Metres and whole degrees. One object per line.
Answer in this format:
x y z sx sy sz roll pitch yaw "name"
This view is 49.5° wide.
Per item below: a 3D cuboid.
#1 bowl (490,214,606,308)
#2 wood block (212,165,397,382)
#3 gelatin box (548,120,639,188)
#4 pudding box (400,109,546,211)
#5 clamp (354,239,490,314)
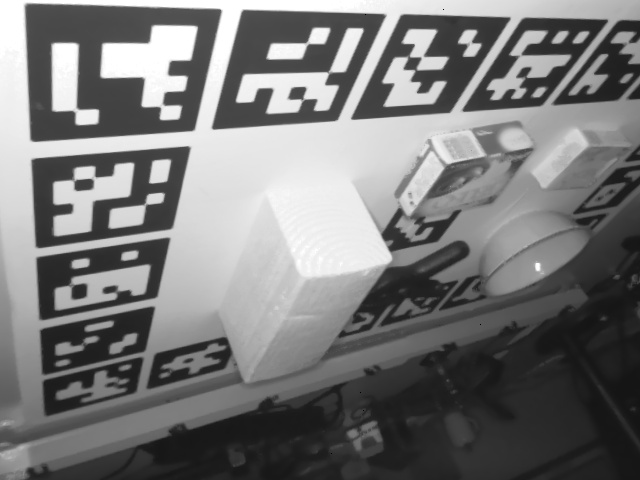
0.275 0.018 0.876 0.163 0.055 0.160 -18 145 -12 "bowl"
-0.024 0.035 0.638 0.091 0.091 0.203 -4 142 -29 "wood block"
0.302 -0.090 0.746 0.091 0.030 0.072 -1 139 -34 "gelatin box"
0.141 -0.075 0.647 0.115 0.038 0.088 -10 141 -29 "pudding box"
0.115 0.053 0.833 0.167 0.036 0.120 -12 146 -18 "clamp"
